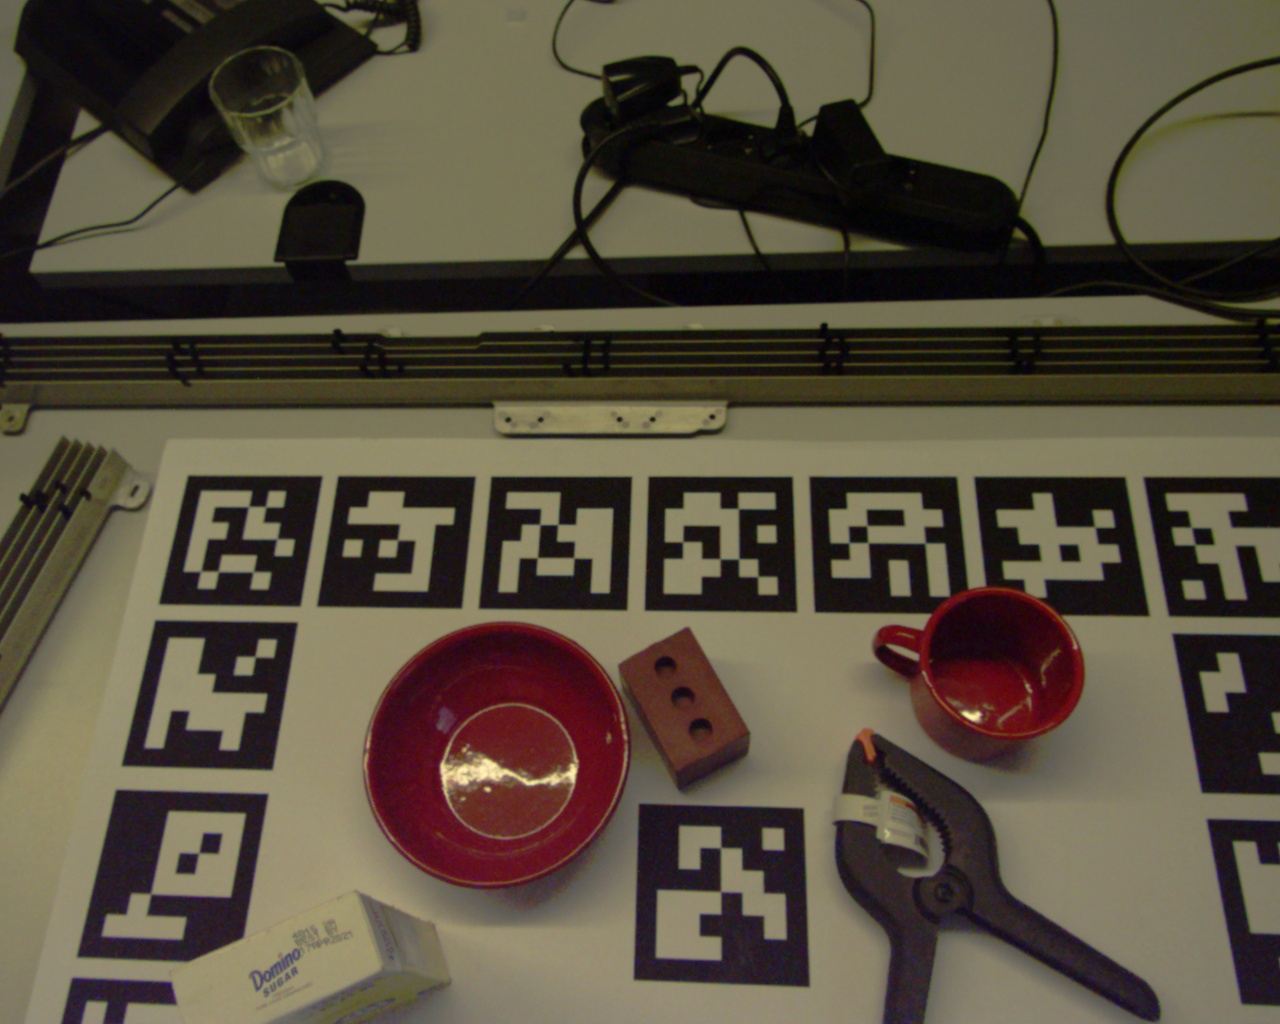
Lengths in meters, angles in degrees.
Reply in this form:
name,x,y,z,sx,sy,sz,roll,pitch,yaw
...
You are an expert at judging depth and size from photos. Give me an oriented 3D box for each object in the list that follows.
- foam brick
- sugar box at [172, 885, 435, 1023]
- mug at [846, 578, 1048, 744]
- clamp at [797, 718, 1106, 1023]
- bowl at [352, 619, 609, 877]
name,x,y,z,sx,sy,sz,roll,pitch,yaw
foam brick,0.018,0.130,0.742,0.052,0.051,0.078,-26,67,-7
sugar box,-0.175,0.251,0.627,0.092,0.176,0.045,-24,68,-9
mug,0.187,0.094,0.721,0.118,0.081,0.093,24,69,10
clamp,0.155,0.219,0.686,0.165,0.036,0.204,-23,67,-4
bowl,-0.099,0.154,0.732,0.162,0.055,0.162,-2,65,3
